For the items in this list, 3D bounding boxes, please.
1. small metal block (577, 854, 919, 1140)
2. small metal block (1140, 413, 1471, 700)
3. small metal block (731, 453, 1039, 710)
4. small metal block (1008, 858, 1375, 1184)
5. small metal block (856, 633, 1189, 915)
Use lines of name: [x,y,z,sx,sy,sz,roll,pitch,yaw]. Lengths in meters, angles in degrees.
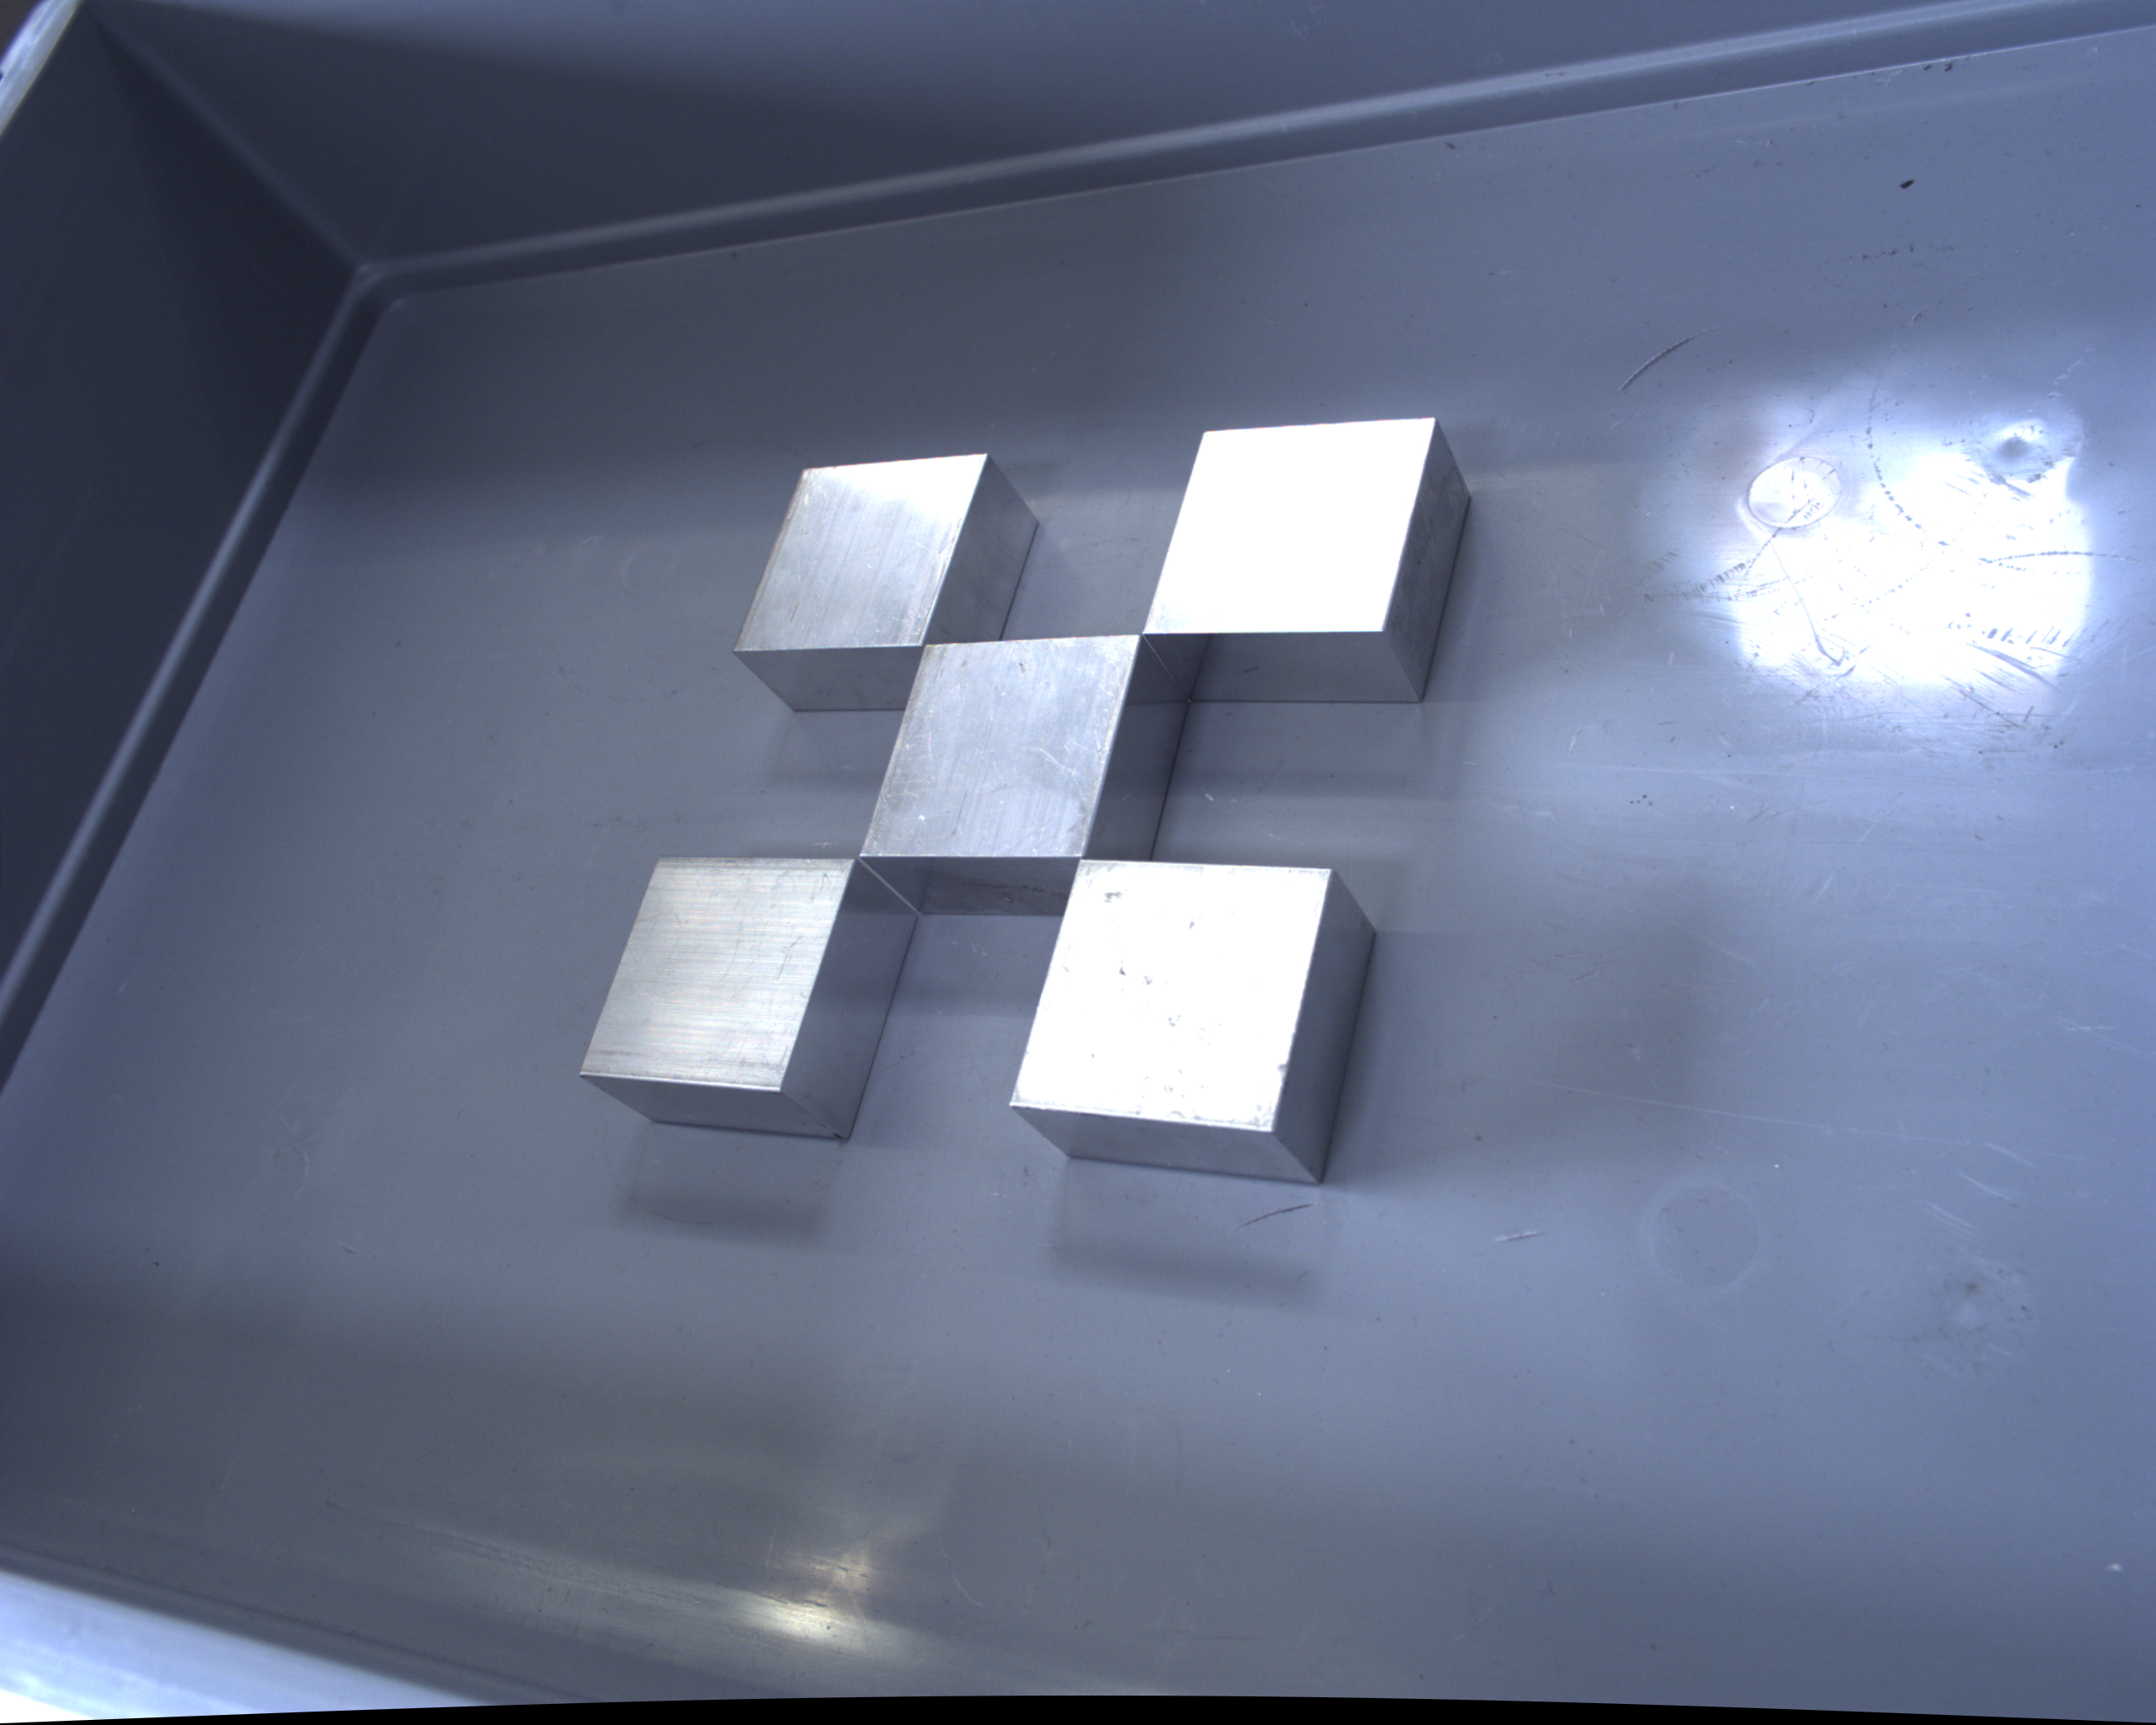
small metal block: [-0.066,0.026,0.422,0.050,0.025,0.050,1,62,28]
small metal block: [0.046,-0.060,0.416,0.050,0.025,0.050,3,63,29]
small metal block: [-0.042,-0.062,0.464,0.050,0.025,0.050,2,62,29]
small metal block: [0.021,0.027,0.375,0.050,0.025,0.050,2,62,29]
small metal block: [-0.011,-0.017,0.419,0.050,0.025,0.050,1,62,28]
